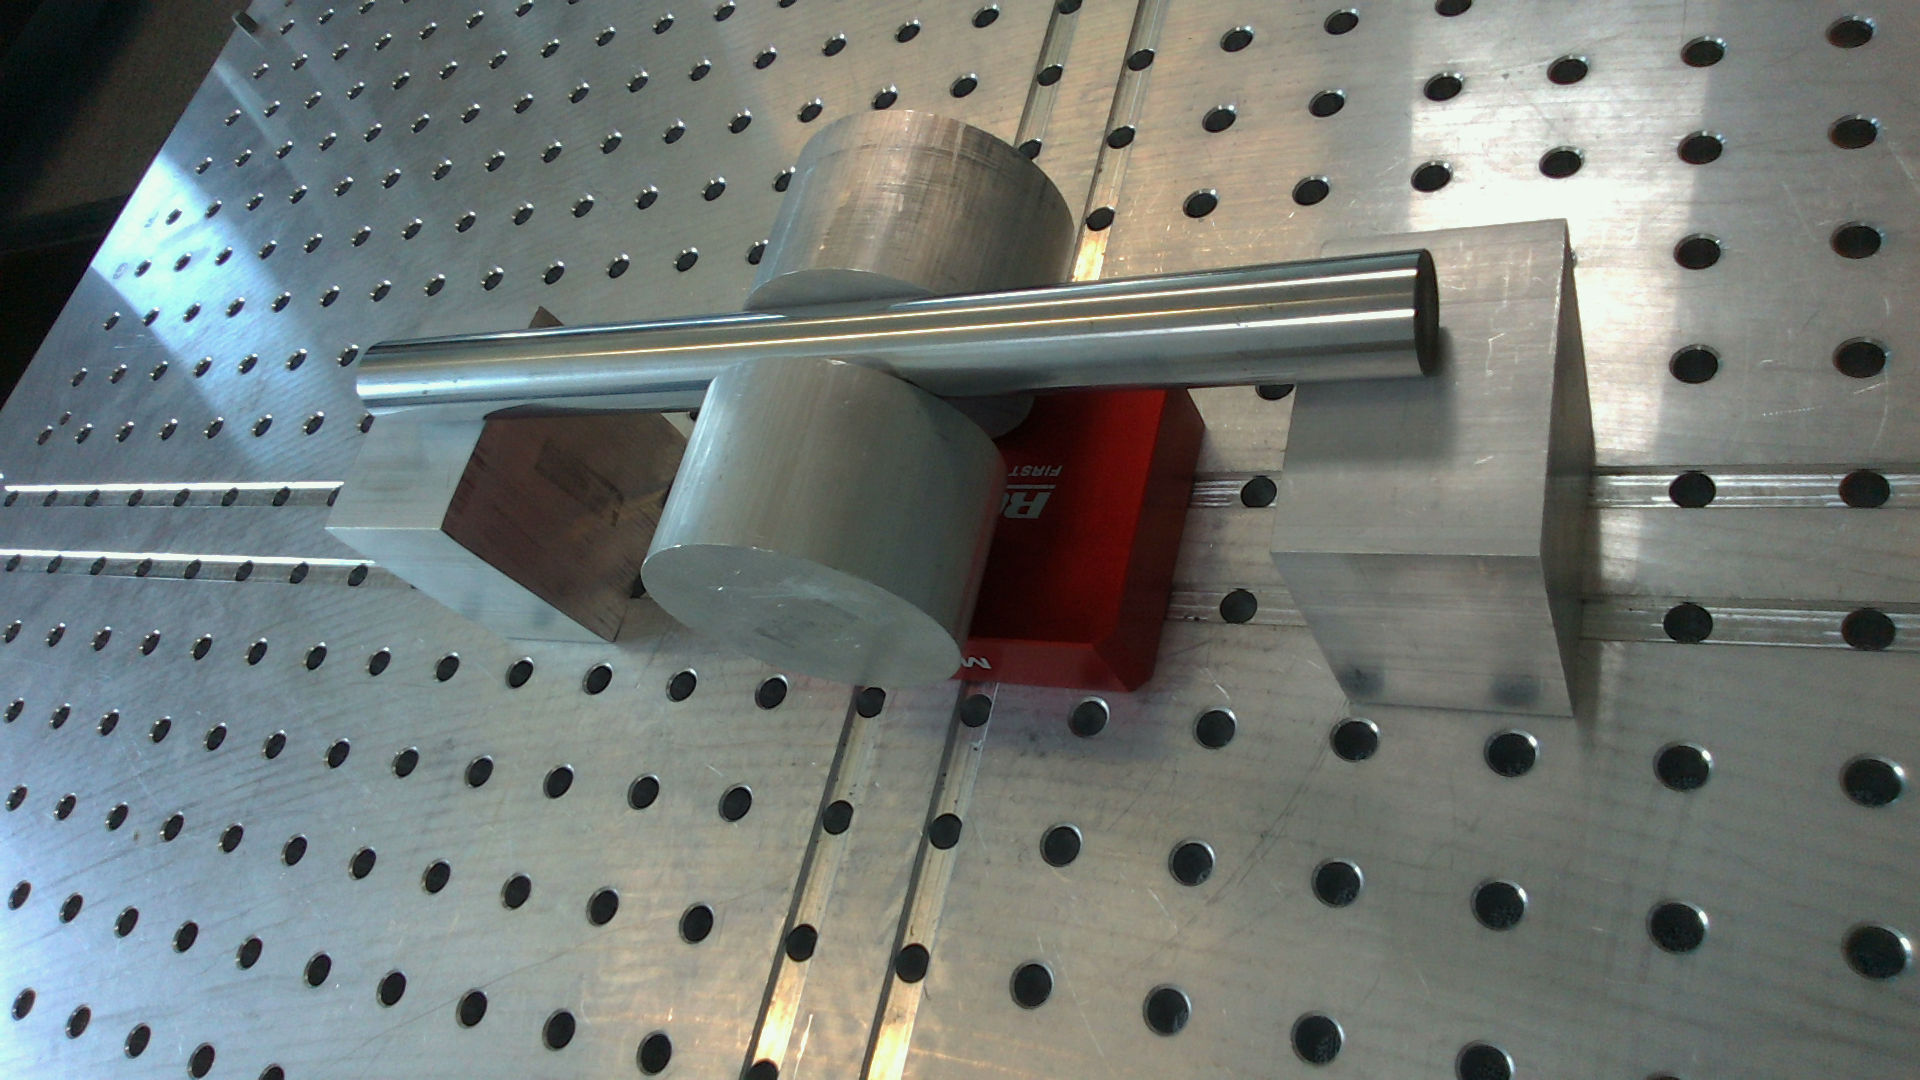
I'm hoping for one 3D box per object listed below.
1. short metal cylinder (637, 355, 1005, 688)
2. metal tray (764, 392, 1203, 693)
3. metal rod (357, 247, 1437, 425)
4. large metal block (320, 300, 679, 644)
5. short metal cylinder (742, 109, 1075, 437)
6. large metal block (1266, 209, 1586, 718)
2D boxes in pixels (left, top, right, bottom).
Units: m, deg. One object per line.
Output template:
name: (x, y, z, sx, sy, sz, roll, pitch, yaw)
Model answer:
short metal cylinder: (-0.033, -0.002, 0.341, 0.080, 0.080, 0.050, 1, 62, 29)
metal tray: (-0.003, -0.007, 0.399, 0.130, 0.030, 0.090, 1, 62, 29)
metal rod: (-0.039, -0.046, 0.342, 0.299, 0.025, 0.025, 1, 62, 29)
large metal block: (-0.145, -0.020, 0.450, 0.050, 0.080, 0.080, 1, 62, 29)
short metal cylinder: (-0.013, -0.069, 0.372, 0.080, 0.080, 0.050, 1, 62, 29)
large metal block: (0.109, -0.014, 0.309, 0.050, 0.080, 0.080, 1, 62, 29)
